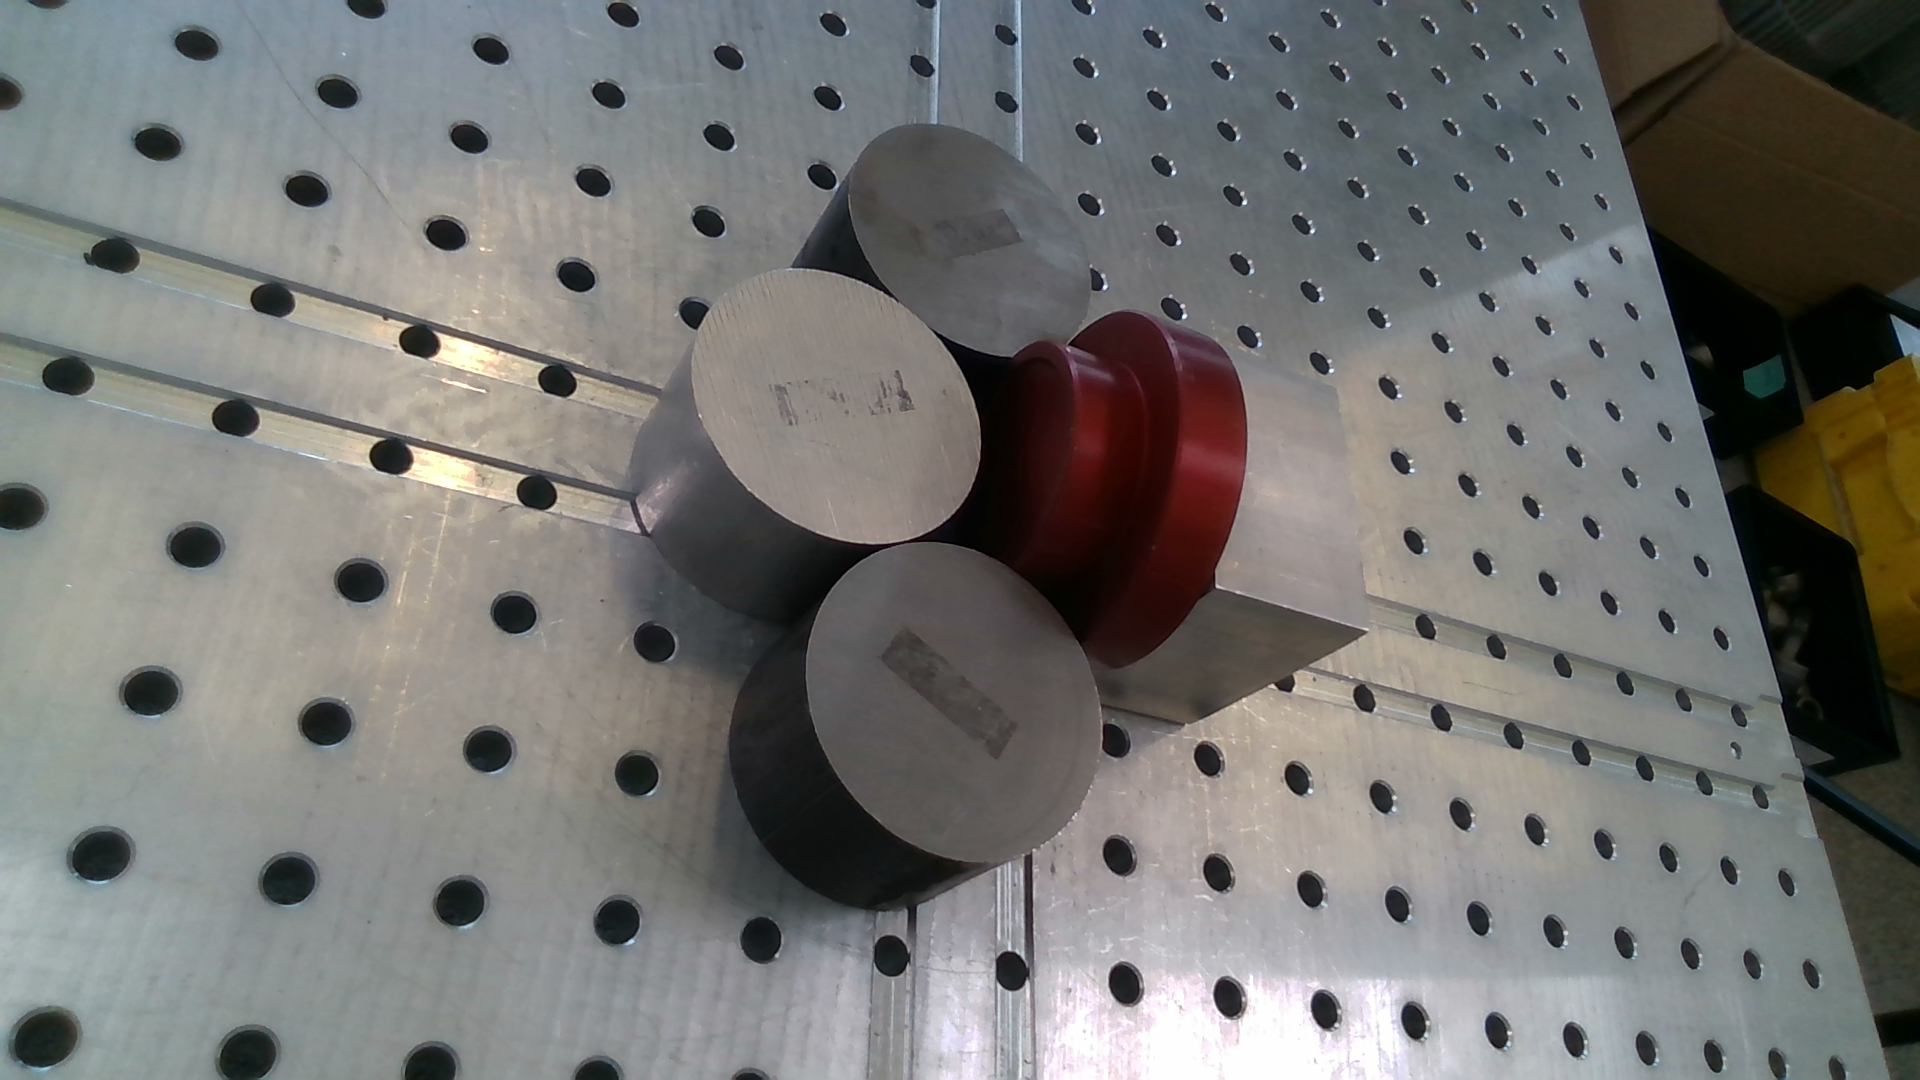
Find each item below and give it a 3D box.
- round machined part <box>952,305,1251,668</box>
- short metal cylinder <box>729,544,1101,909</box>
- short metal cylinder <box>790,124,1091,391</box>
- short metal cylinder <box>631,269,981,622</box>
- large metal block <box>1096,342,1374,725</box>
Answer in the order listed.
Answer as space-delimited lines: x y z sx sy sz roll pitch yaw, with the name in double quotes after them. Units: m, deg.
0.032 -0.017 0.376 0.042 0.098 0.098 16 58 -24 "round machined part"
-0.012 0.048 0.348 0.080 0.050 0.080 14 59 -25 "short metal cylinder"
-0.008 -0.077 0.417 0.080 0.050 0.080 14 59 -25 "short metal cylinder"
-0.041 -0.024 0.368 0.080 0.050 0.080 14 59 -25 "short metal cylinder"
0.068 0.000 0.402 0.050 0.080 0.080 15 58 -24 "large metal block"
